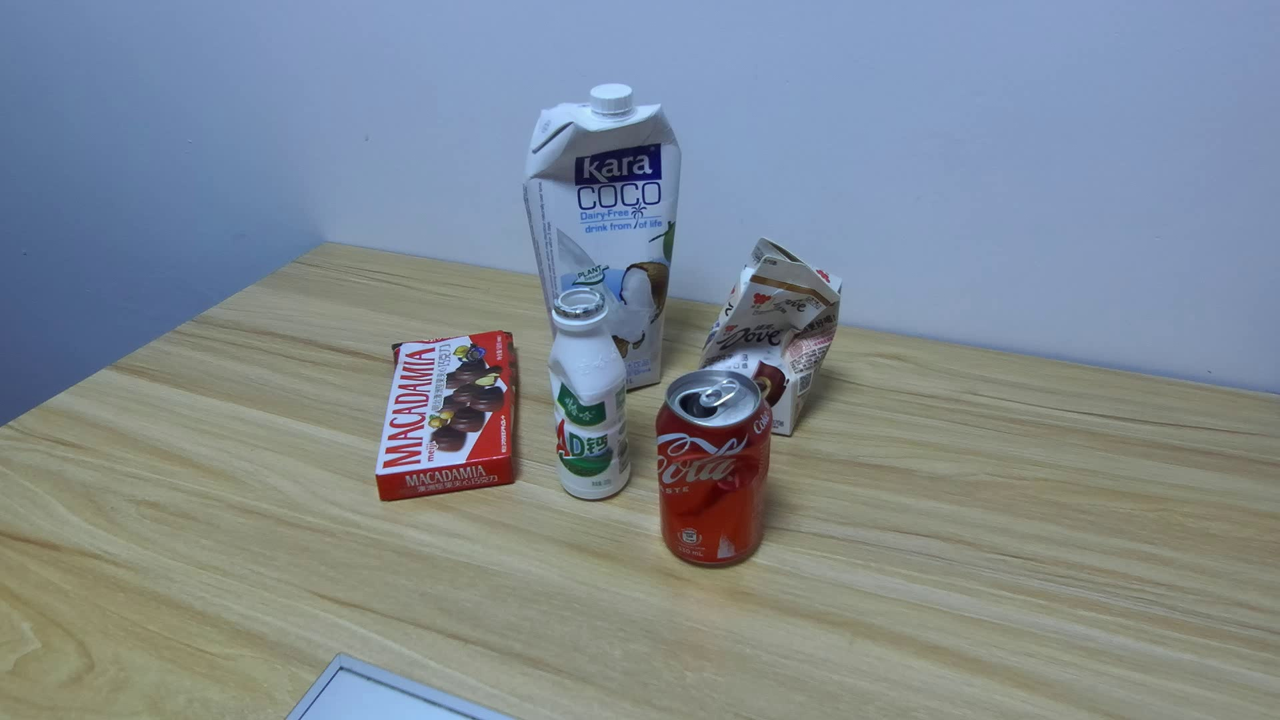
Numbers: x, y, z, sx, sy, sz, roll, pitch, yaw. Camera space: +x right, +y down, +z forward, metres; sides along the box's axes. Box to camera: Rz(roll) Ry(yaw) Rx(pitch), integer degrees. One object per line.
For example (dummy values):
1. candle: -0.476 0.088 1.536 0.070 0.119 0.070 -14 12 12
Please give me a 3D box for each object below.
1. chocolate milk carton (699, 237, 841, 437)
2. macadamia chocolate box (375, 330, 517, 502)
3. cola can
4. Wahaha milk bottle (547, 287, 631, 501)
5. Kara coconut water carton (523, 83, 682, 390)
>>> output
1. chocolate milk carton: 0.099 -0.019 0.526 0.089 0.155 0.077 19 41 6
2. macadamia chocolate box: -0.151 0.035 0.570 0.106 0.028 0.182 -8 35 -8
3. cola can: 0.045 0.065 0.429 0.066 0.117 0.066 7 35 15
4. Wahaha milk bottle: -0.035 0.024 0.466 0.056 0.148 0.056 -2 35 1
5. Kara coconut water carton: -0.027 -0.087 0.548 0.115 0.239 0.069 -14 34 -22
